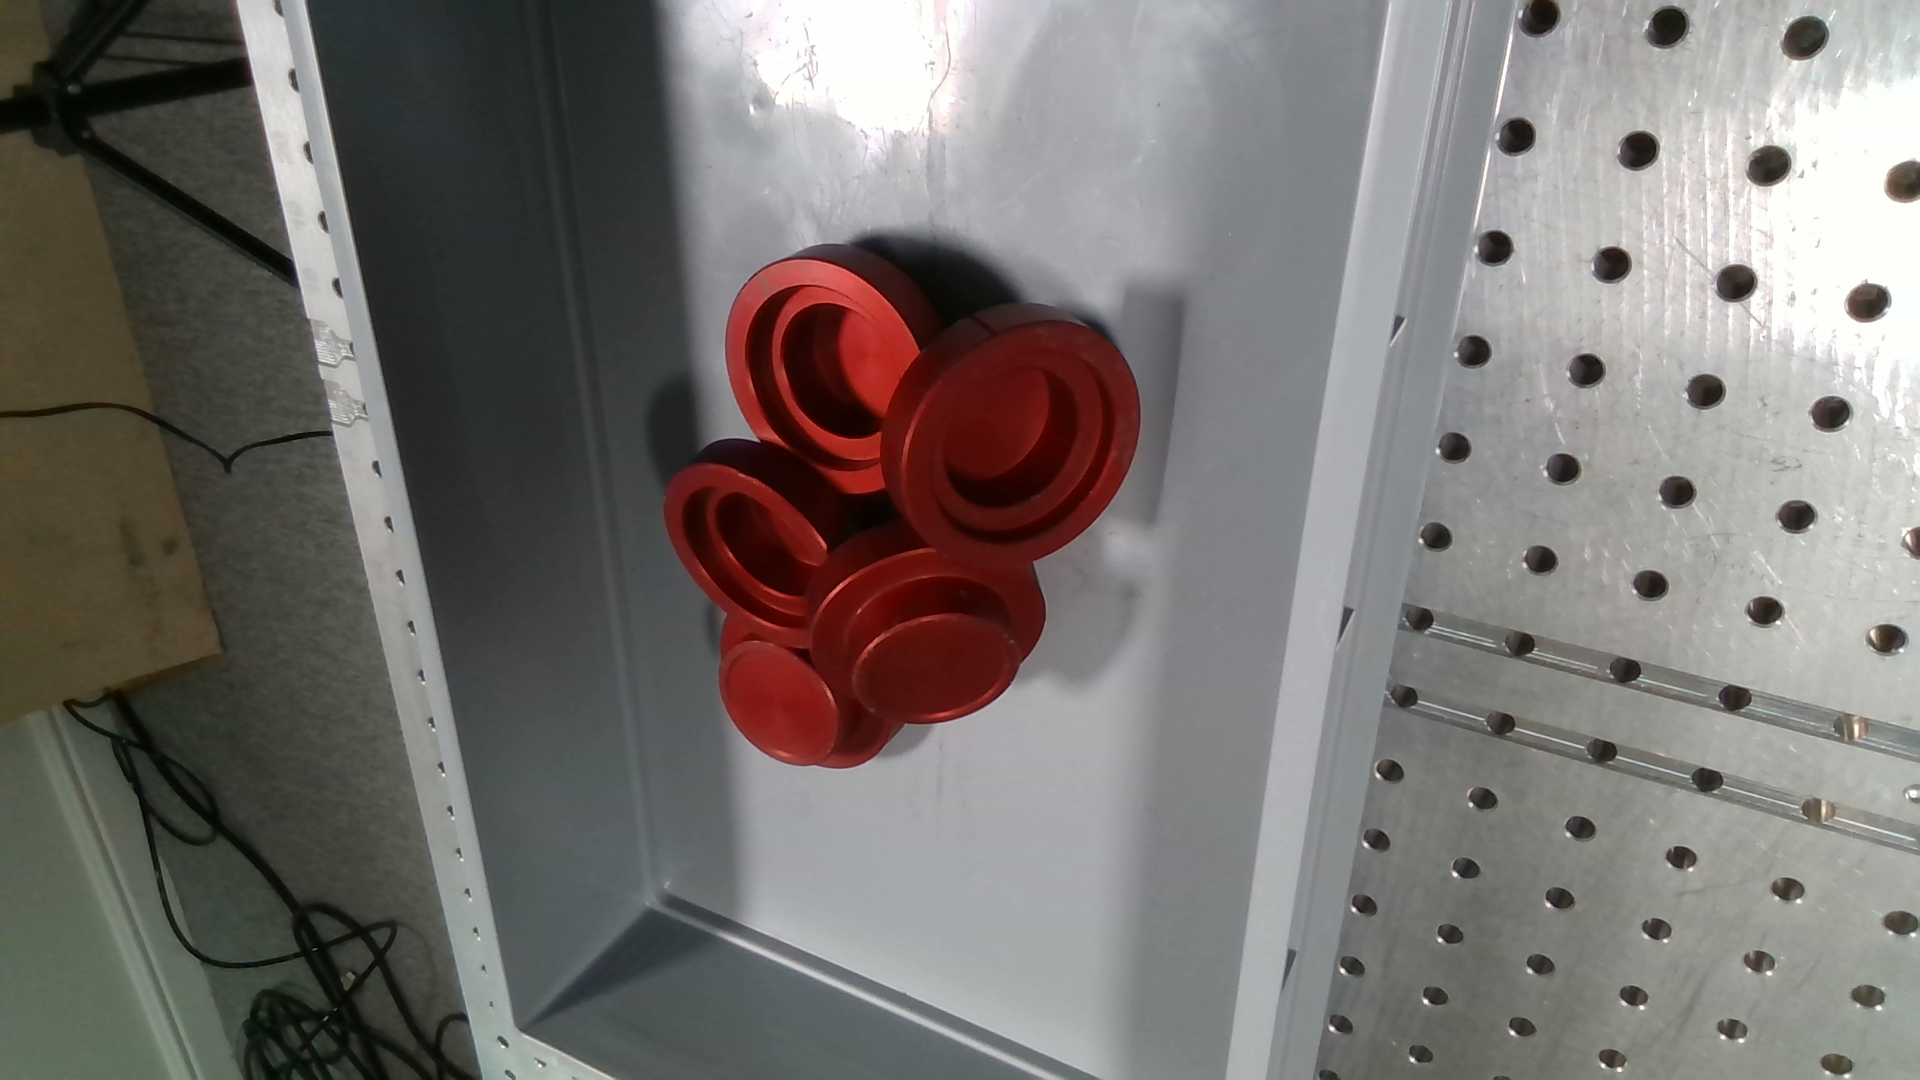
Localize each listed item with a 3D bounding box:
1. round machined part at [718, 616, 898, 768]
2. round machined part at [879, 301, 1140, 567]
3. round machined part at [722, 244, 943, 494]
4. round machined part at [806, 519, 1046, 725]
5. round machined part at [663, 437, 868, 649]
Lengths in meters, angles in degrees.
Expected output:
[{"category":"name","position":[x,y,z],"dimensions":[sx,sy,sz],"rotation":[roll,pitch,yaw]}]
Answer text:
[{"category":"round machined part","position":[-0.075,0.067,0.649],"dimensions":[0.098,0.042,0.098],"rotation":[14,122,25]},{"category":"round machined part","position":[0.015,-0.042,0.512],"dimensions":[0.042,0.098,0.098],"rotation":[46,141,50]},{"category":"round machined part","position":[-0.044,-0.071,0.554],"dimensions":[0.098,0.042,0.098],"rotation":[14,122,25]},{"category":"round machined part","position":[-0.013,0.038,0.561],"dimensions":[0.098,0.042,0.098],"rotation":[-8,136,-7]},{"category":"round machined part","position":[-0.078,-0.004,0.598],"dimensions":[0.098,0.042,0.098],"rotation":[25,139,23]}]
